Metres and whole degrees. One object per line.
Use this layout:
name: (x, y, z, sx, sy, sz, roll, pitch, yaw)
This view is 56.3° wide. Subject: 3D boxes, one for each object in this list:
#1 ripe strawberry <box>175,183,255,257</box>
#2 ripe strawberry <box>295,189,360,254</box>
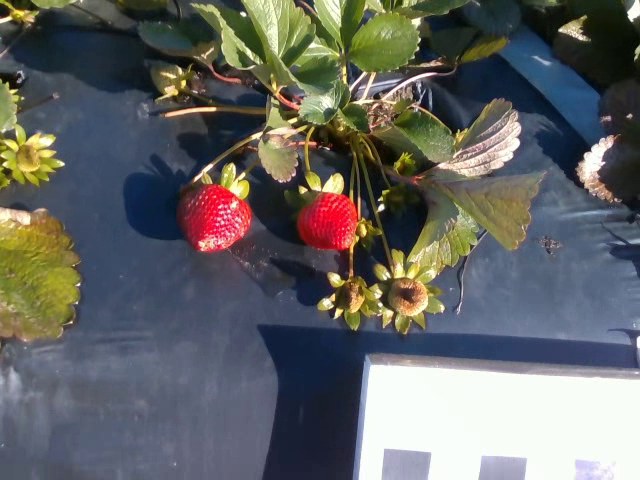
ripe strawberry: (-0.065, -0.009, 0.343, 0.050, 0.045, 0.050, 22, 30, -7)
ripe strawberry: (0.008, -0.008, 0.351, 0.039, 0.042, 0.049, 48, 6, -35)
